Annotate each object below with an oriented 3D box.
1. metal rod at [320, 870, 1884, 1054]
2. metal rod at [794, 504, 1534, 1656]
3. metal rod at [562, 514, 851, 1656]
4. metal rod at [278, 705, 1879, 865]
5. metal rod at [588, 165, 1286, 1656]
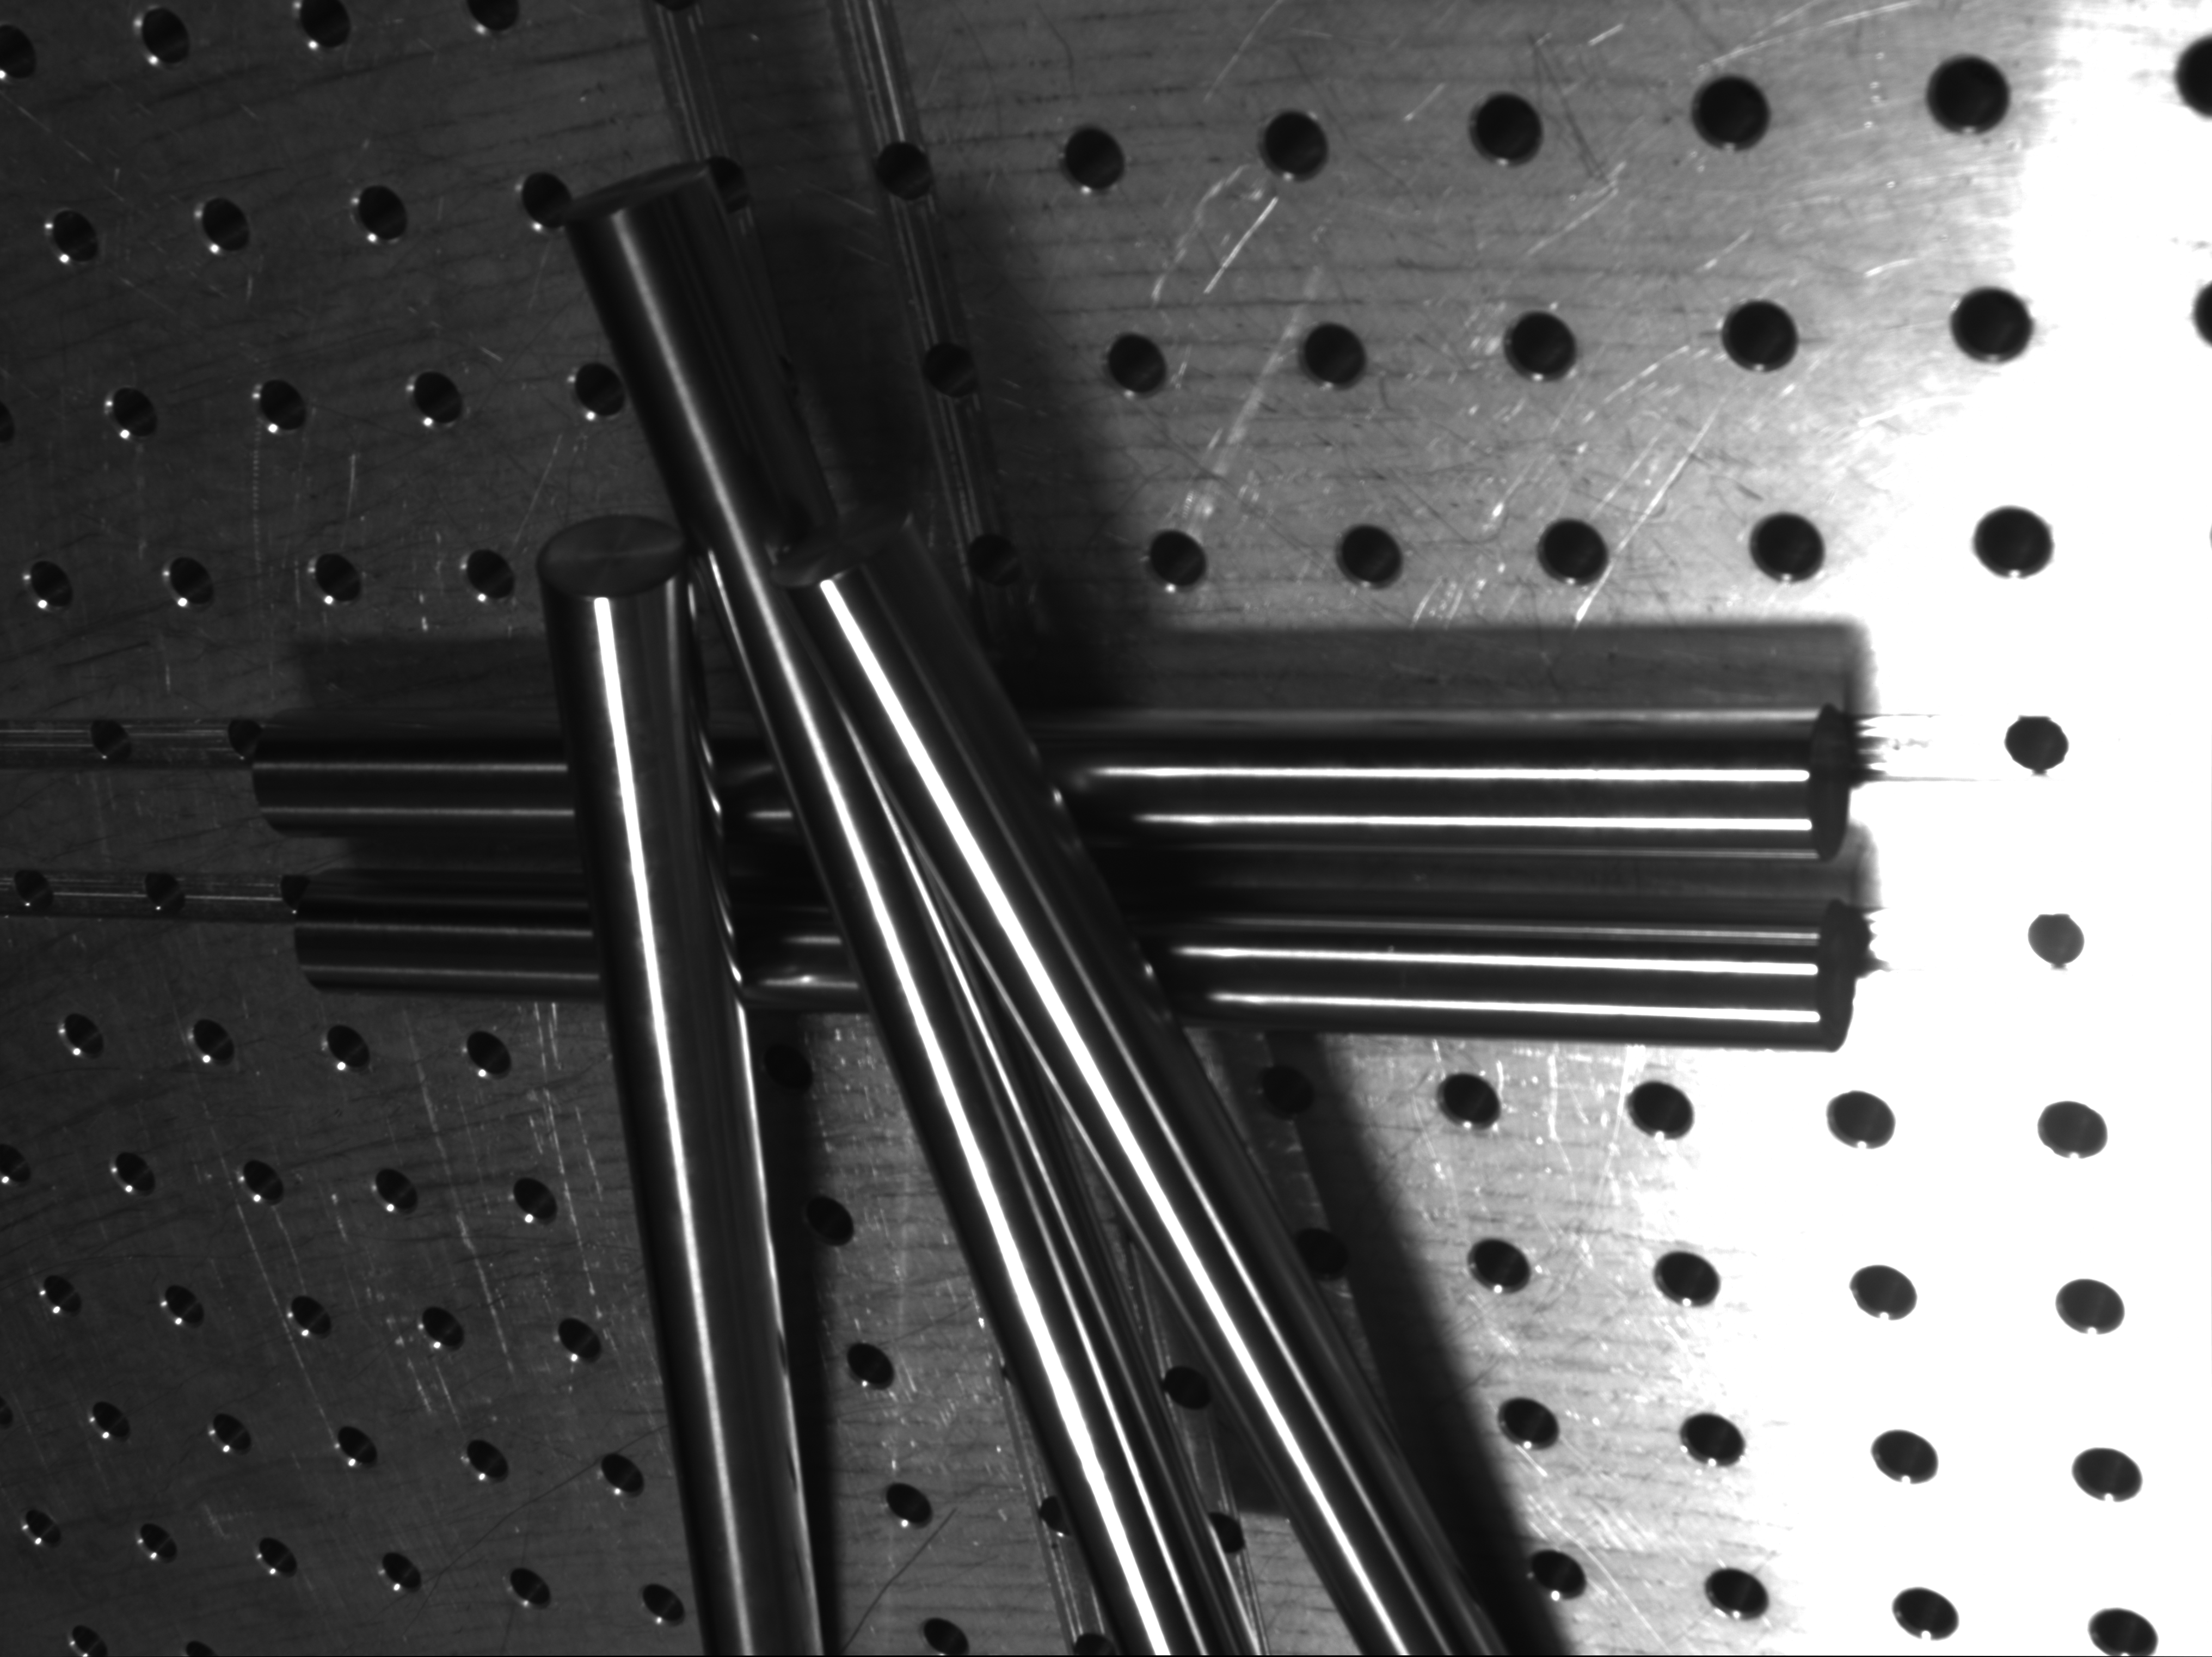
[{"bbox_3d":[-0.012,0.022,0.654,0.299,0.025,0.025,1,119,26],"label":"metal rod"},{"bbox_3d":[0.025,0.076,0.643,0.025,0.025,0.300,-11,120,31],"label":"metal rod"},{"bbox_3d":[-0.071,0.074,0.691,0.025,0.025,0.300,13,130,20],"label":"metal rod"},{"bbox_3d":[-0.017,-0.008,0.638,0.299,0.025,0.025,1,119,26],"label":"metal rod"},{"bbox_3d":[-0.023,0.031,0.633,0.025,0.025,0.300,-6,115,30],"label":"metal rod"}]
